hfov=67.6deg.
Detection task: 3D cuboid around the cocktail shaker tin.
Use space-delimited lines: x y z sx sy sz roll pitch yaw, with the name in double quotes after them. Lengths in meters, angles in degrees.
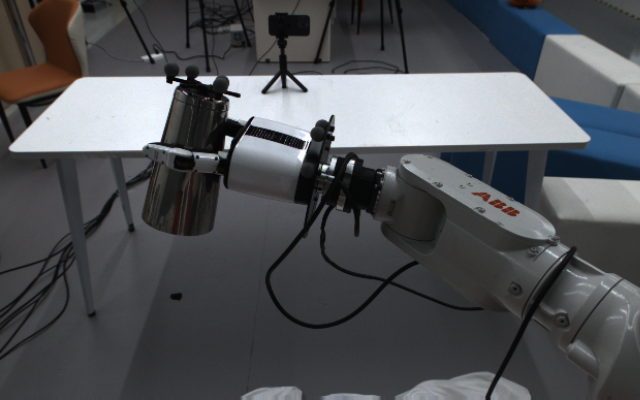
-0.164 -0.051 0.609 0.093 0.170 0.093 14 17 -5 "cocktail shaker tin"
